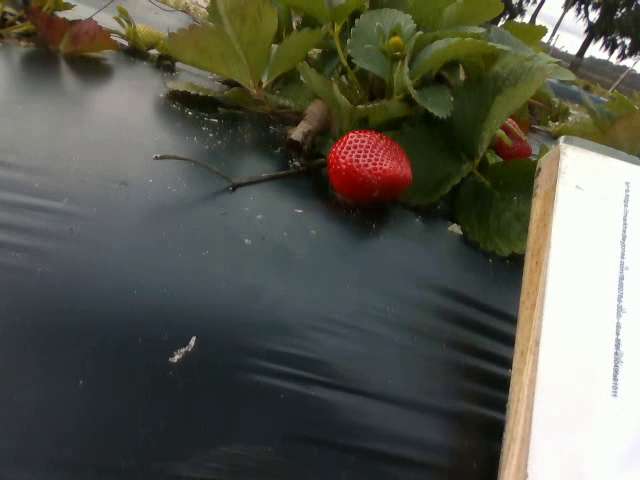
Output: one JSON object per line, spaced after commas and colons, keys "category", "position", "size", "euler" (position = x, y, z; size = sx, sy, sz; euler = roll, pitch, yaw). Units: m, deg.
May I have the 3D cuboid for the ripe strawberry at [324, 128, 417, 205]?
{"category": "ripe strawberry", "position": [0.020, -0.032, 0.242], "size": [0.037, 0.037, 0.046], "euler": [-30, 30, -11]}
